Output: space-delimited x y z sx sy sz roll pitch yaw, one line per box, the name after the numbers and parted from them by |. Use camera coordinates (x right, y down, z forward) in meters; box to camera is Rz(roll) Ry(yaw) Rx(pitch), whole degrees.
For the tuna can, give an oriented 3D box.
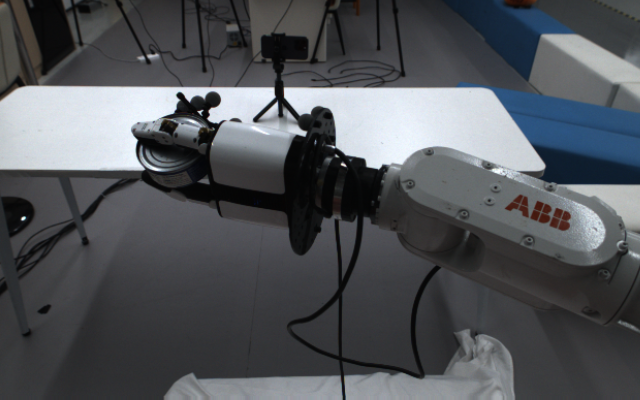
-0.162 -0.058 0.555 0.085 0.034 0.085 -4 56 6 | tuna can
